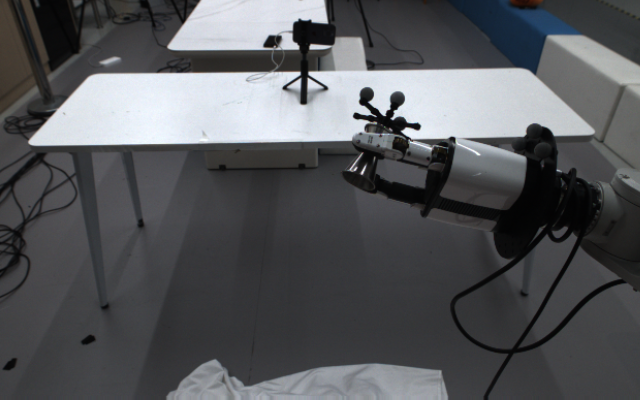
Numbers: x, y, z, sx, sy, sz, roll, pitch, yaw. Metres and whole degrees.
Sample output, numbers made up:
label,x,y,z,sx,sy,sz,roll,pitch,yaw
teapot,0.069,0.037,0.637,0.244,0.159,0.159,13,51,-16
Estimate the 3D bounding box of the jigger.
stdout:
label,x,y,z,sx,sy,sz,roll,pitch,yaw
jigger,0.057,-0.054,0.569,0.043,0.043,0.071,19,72,23
